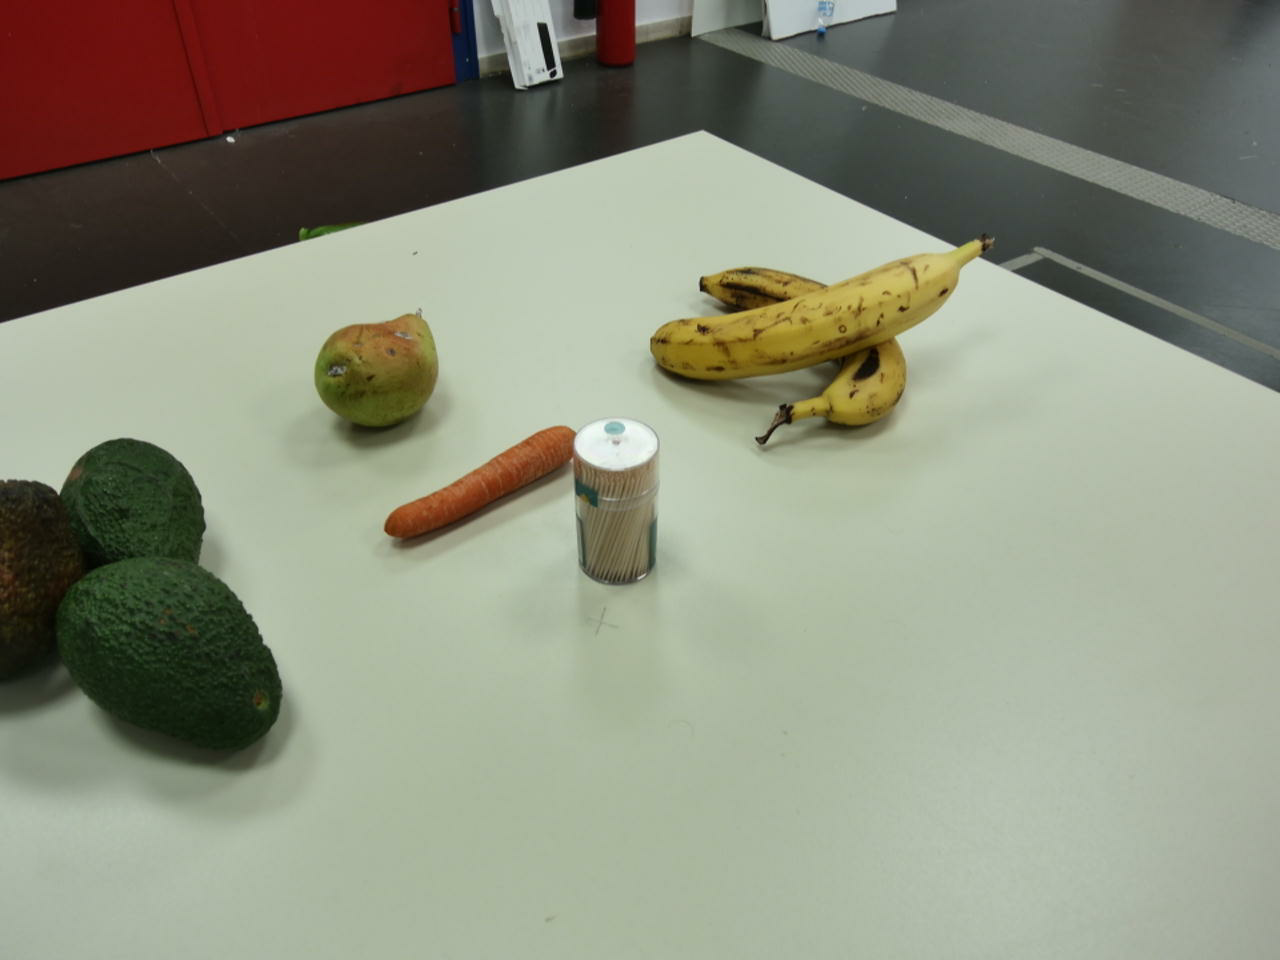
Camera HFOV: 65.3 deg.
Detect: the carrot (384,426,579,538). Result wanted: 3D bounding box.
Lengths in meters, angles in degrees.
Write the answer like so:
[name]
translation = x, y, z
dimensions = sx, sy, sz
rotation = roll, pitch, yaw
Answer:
[carrot]
translation = -0.083, 0.000, 0.538
dimensions = 0.122, 0.023, 0.024
rotation = -27, 46, -31
